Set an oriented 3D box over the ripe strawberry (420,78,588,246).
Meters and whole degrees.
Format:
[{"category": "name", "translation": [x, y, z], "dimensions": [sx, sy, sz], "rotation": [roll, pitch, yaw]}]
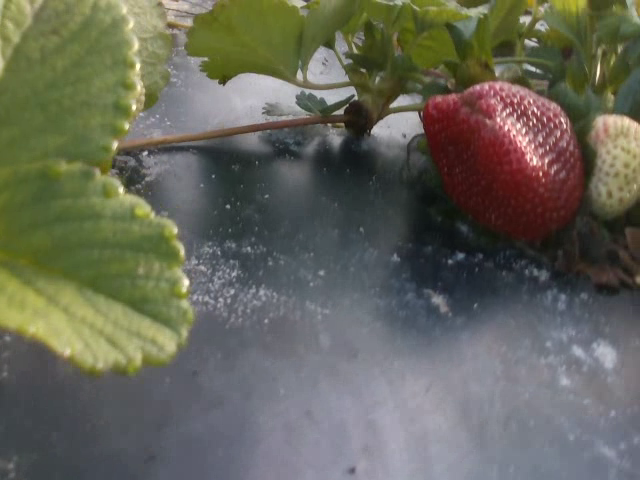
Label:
[{"category": "ripe strawberry", "translation": [0.061, -0.029, 0.209], "dimensions": [0.057, 0.058, 0.070], "rotation": [-21, -36, 31]}]
